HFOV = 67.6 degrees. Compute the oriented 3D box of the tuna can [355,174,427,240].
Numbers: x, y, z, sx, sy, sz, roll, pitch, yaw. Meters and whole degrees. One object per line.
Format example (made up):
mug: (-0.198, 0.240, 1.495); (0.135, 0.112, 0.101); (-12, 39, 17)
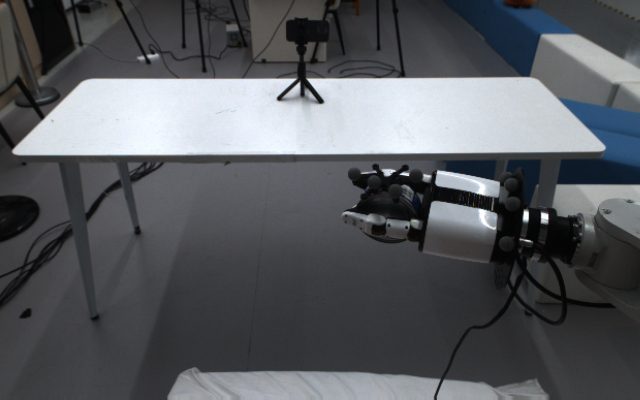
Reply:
tuna can: (0.094, 0.015, 0.650); (0.085, 0.085, 0.034); (12, 39, 13)
